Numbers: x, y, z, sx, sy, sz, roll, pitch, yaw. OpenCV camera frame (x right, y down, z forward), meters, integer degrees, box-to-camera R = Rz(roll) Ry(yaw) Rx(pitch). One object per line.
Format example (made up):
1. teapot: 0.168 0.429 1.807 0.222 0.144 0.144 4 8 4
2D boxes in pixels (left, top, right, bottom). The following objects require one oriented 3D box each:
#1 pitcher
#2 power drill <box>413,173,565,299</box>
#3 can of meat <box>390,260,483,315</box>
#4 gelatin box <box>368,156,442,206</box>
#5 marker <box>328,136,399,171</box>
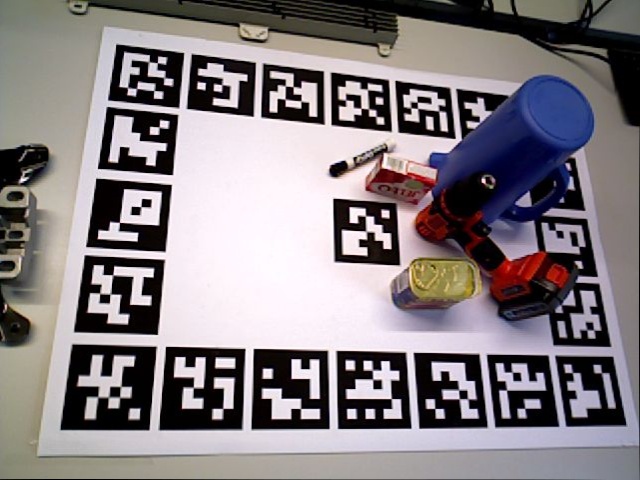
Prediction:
1. pitcher: 0.283 -0.105 0.757 0.188 0.246 0.131 33 69 6
2. power drill: 0.231 -0.004 0.736 0.187 0.187 0.056 39 69 -4
3. can of meat: 0.155 0.068 0.745 0.101 0.085 0.057 3 68 -13
4. gelatin box: 0.125 -0.085 0.799 0.089 0.074 0.030 15 71 -10
5. marker: 0.066 -0.132 0.827 0.119 0.020 0.019 -23 78 -18
